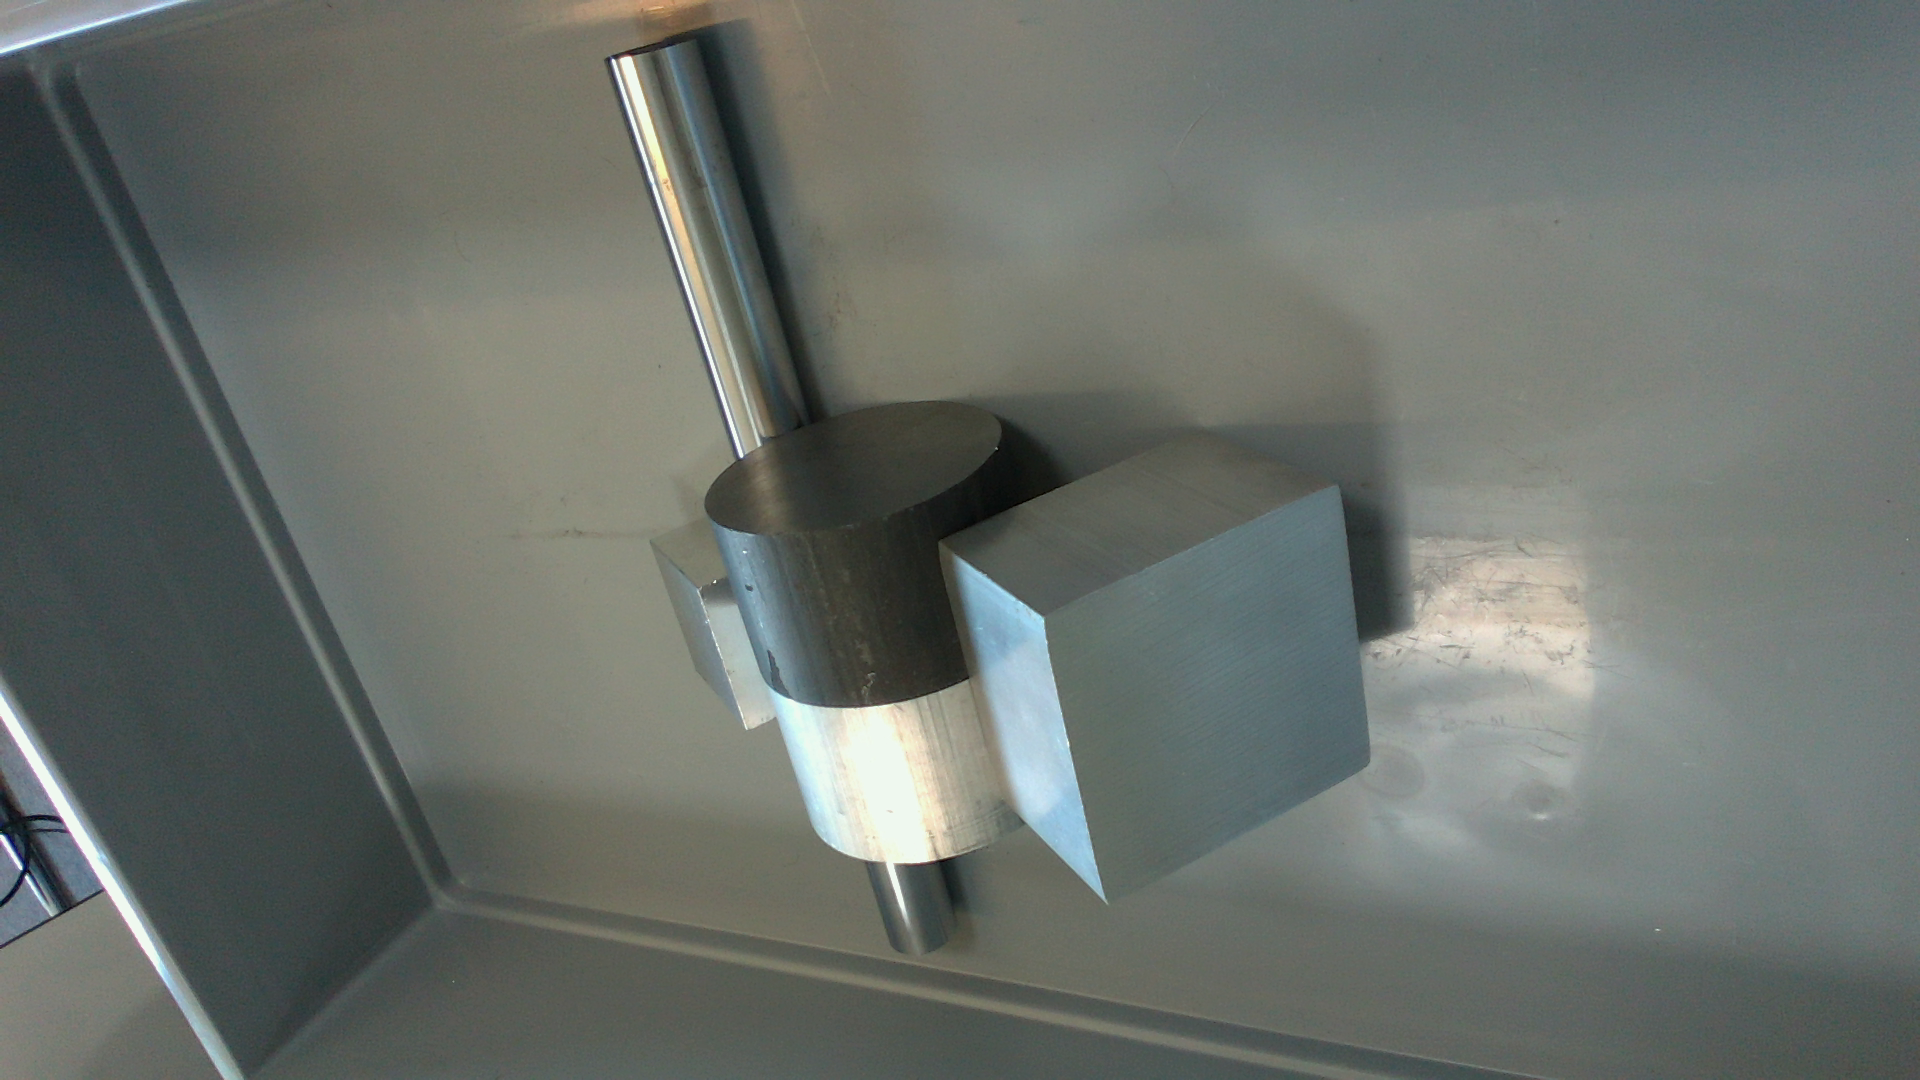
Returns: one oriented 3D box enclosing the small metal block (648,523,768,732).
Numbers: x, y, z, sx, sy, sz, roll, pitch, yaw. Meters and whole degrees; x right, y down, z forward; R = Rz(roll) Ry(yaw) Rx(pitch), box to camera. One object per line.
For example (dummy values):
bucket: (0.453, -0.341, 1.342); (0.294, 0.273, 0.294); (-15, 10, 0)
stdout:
small metal block: (-0.071, 0.024, 0.430); (0.050, 0.025, 0.050); (29, 138, 56)

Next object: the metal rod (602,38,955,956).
metal rod: (-0.047, 0.005, 0.419); (0.025, 0.025, 0.300); (0, 119, 28)

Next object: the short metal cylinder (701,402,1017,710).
short metal cylinder: (-0.023, 0.002, 0.369); (0.080, 0.080, 0.050); (0, 119, 28)

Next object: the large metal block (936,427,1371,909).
large metal block: (0.049, 0.029, 0.337); (0.050, 0.080, 0.080); (35, 144, 58)

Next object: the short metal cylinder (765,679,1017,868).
short metal cylinder: (-0.011, 0.047, 0.390); (0.080, 0.080, 0.050); (0, 119, 28)
